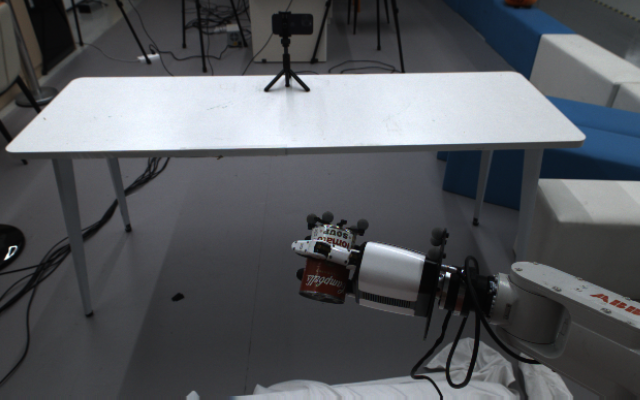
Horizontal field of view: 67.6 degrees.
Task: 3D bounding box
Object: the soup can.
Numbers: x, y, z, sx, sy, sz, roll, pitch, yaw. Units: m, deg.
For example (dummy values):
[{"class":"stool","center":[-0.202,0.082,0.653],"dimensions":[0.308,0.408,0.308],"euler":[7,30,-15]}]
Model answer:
[{"class":"soup can","center":[0.013,0.094,0.704],"dimensions":[0.067,0.067,0.101],"euler":[9,71,9]}]
